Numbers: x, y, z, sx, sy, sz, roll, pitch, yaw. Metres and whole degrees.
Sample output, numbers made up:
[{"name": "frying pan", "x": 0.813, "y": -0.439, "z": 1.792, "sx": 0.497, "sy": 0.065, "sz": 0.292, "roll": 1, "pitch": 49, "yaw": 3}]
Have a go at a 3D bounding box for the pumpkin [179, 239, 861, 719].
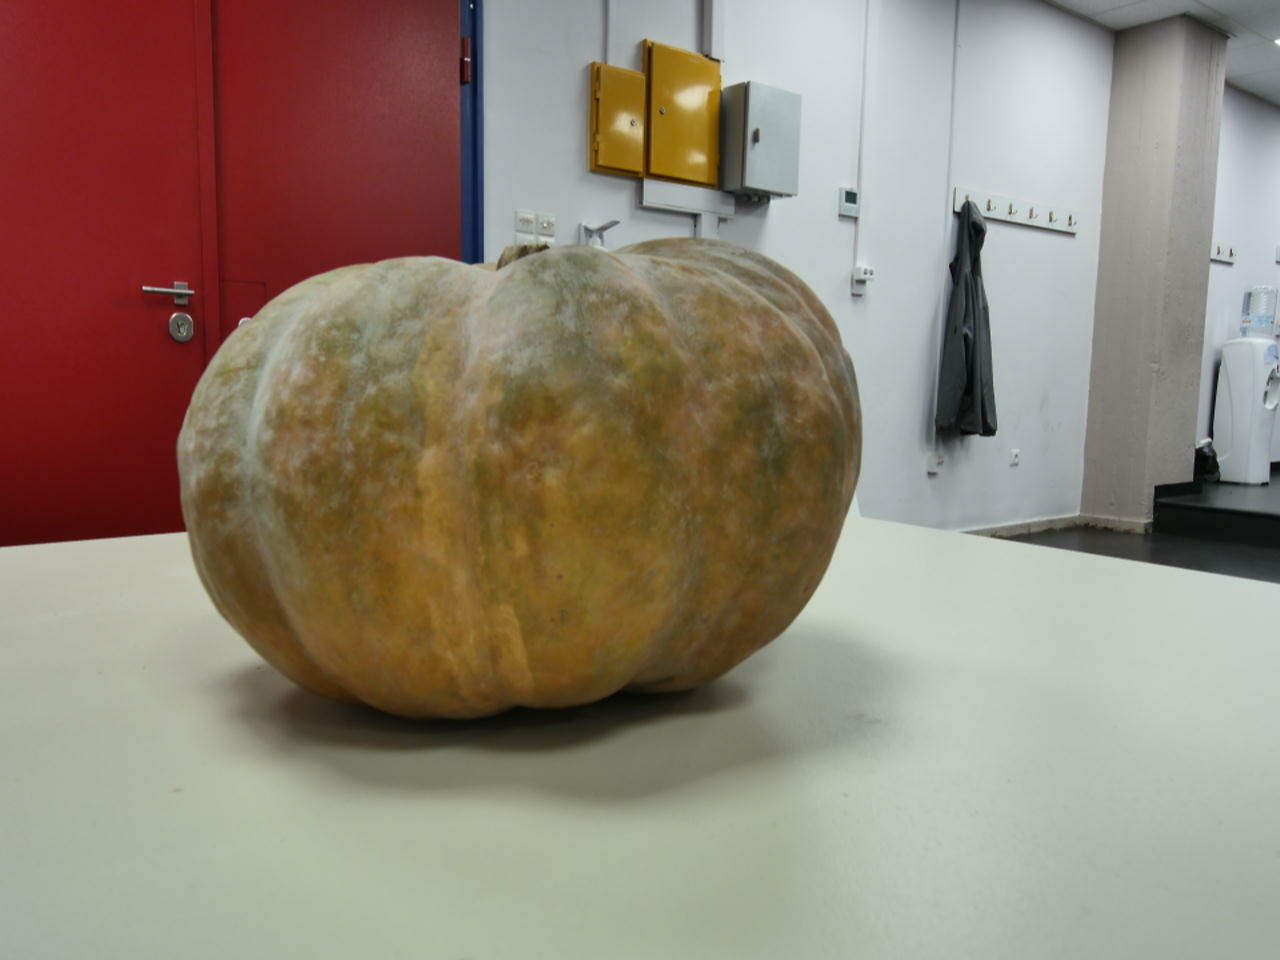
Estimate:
[{"name": "pumpkin", "x": -0.043, "y": -0.008, "z": 0.379, "sx": 0.252, "sy": 0.168, "sz": 0.252, "roll": 0, "pitch": 4, "yaw": 0}]
